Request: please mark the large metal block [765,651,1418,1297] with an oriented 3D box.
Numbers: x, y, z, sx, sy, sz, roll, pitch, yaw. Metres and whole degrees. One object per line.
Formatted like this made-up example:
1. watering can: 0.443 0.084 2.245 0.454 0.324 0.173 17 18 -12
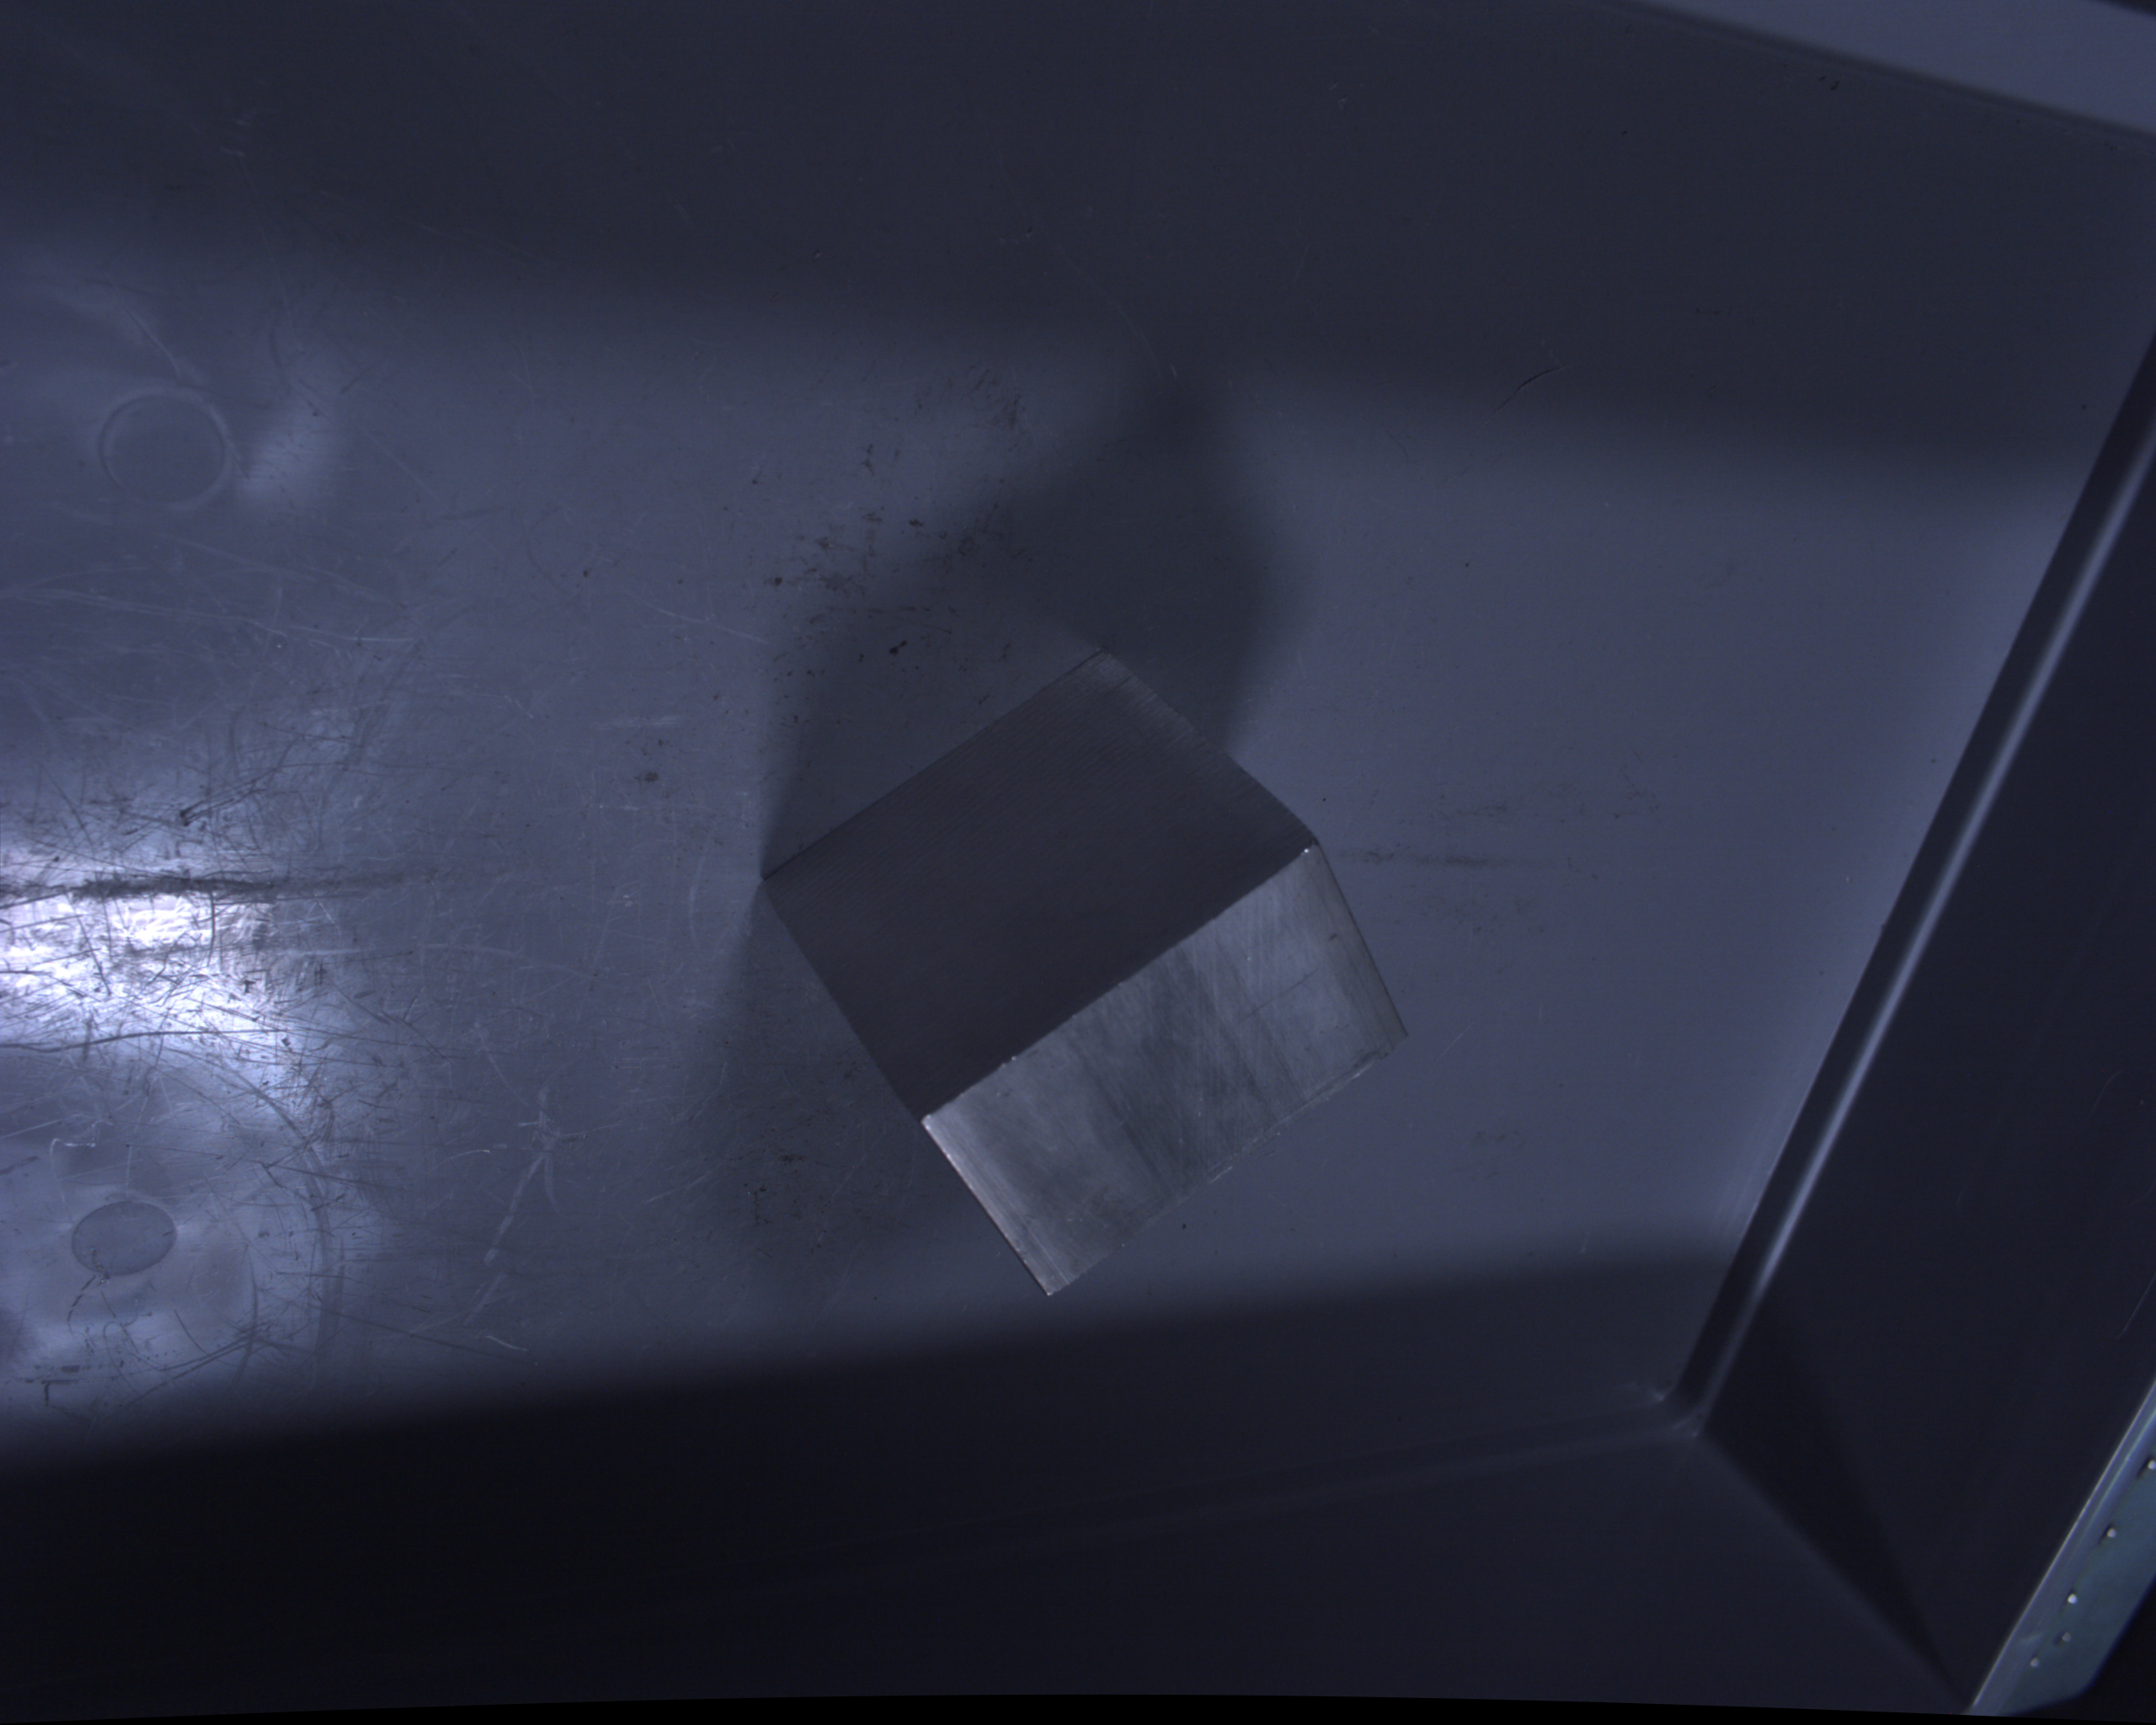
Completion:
1. large metal block: 0.001 0.017 0.382 0.080 0.080 0.050 -34 129 -6
